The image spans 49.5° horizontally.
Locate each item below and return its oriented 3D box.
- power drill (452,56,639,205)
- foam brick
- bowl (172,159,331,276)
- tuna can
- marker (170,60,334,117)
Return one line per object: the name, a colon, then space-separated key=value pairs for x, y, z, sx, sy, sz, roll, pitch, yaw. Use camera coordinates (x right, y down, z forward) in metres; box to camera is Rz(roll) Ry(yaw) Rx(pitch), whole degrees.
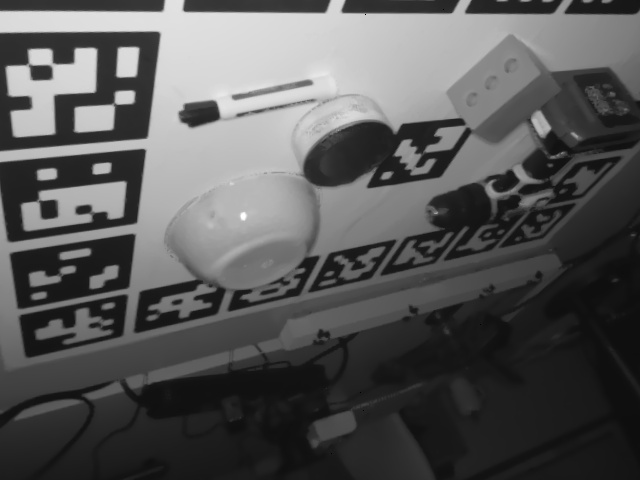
power drill: x=0.247 y=-0.104 z=0.726 sx=0.187 sy=0.057 sz=0.184 roll=-9 pitch=150 yaw=-20
foam brick: x=0.165 y=-0.151 z=0.594 sx=0.052 sy=0.053 sz=0.077 roll=7 pitch=137 yaw=-42
bowl: x=-0.055 y=-0.011 z=0.664 sx=0.162 sy=0.055 sz=0.160 roll=-21 pitch=159 yaw=-8
tuna can: x=0.019 y=-0.092 z=0.583 sx=0.086 sy=0.034 sz=0.085 roll=-17 pitch=150 yaw=-9
marker: x=-0.049 y=-0.112 z=0.511 sx=0.122 sy=0.019 sz=0.019 roll=-16 pitch=149 yaw=-15
